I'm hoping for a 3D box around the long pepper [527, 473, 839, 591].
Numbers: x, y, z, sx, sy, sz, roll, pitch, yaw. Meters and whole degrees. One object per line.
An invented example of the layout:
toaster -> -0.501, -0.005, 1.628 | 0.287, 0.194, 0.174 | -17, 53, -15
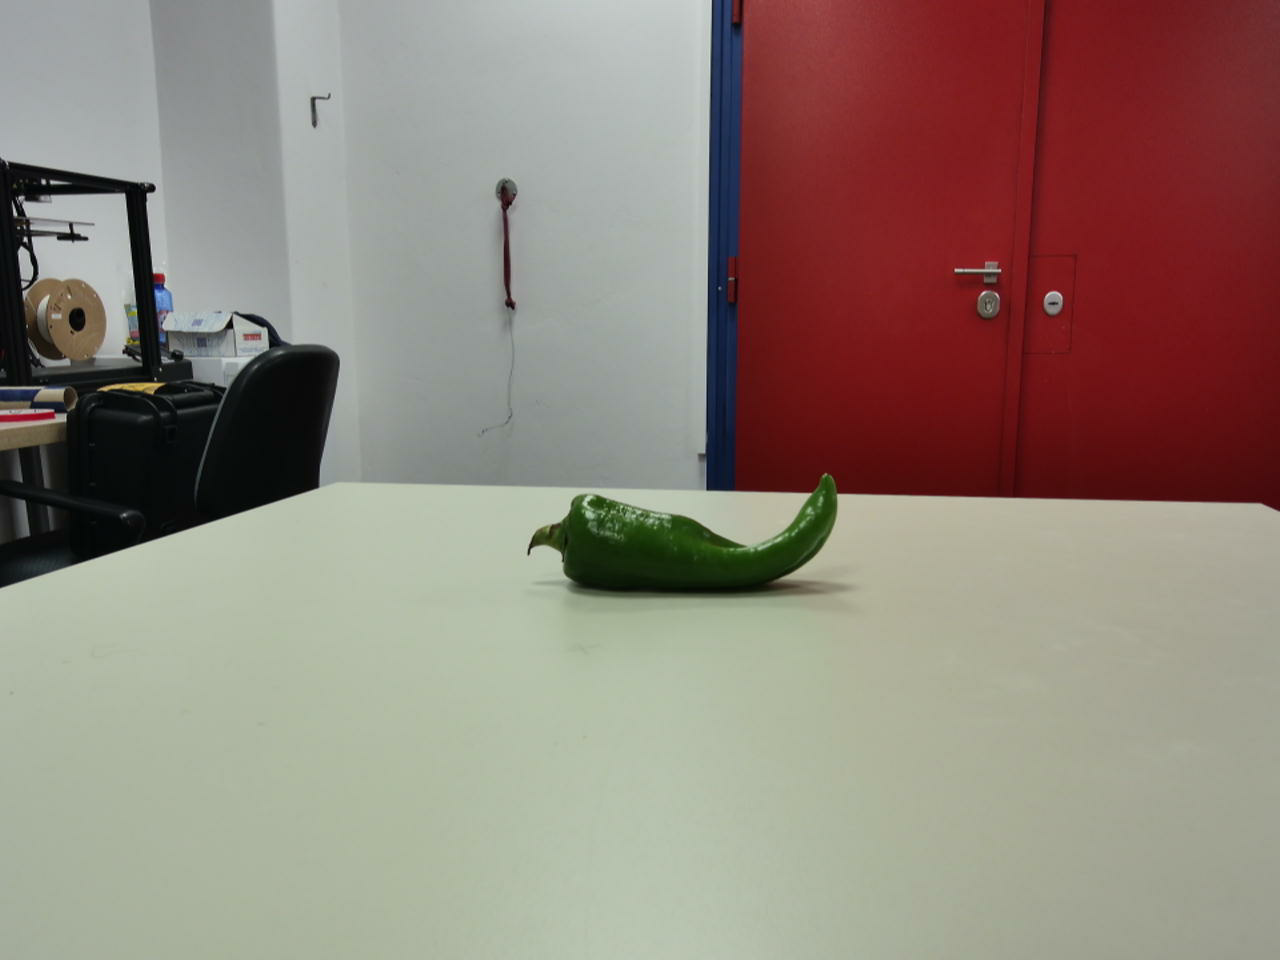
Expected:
long pepper -> 0.022, 0.028, 0.559 | 0.175, 0.065, 0.058 | 1, 6, 10
